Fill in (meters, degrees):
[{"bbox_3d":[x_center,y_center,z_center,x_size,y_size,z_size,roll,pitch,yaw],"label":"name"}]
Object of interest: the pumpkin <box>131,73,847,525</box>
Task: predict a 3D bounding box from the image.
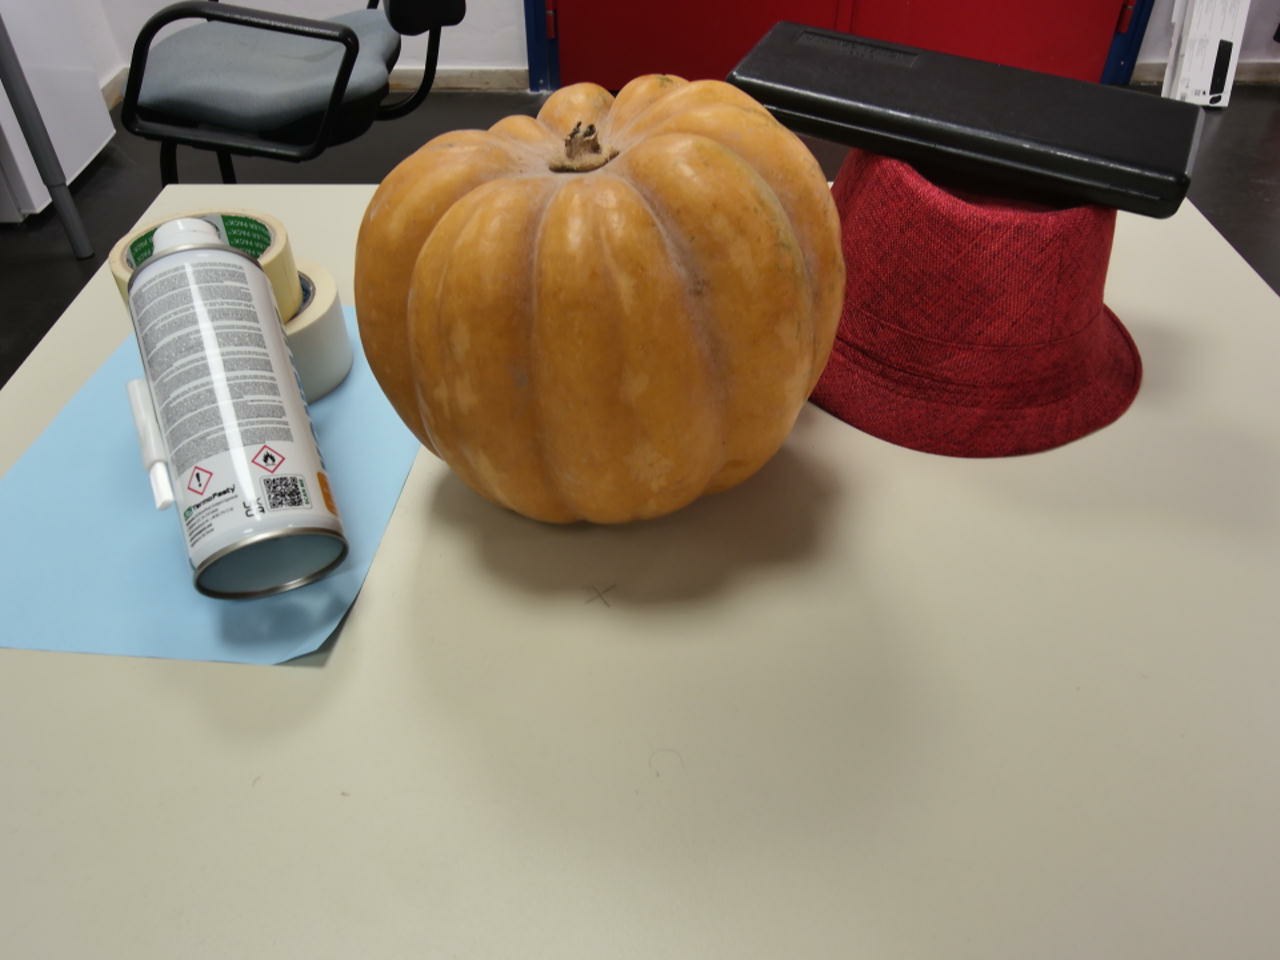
[{"bbox_3d":[-0.016,-0.084,0.480,0.230,0.194,0.230,0,39,0],"label":"pumpkin"}]
